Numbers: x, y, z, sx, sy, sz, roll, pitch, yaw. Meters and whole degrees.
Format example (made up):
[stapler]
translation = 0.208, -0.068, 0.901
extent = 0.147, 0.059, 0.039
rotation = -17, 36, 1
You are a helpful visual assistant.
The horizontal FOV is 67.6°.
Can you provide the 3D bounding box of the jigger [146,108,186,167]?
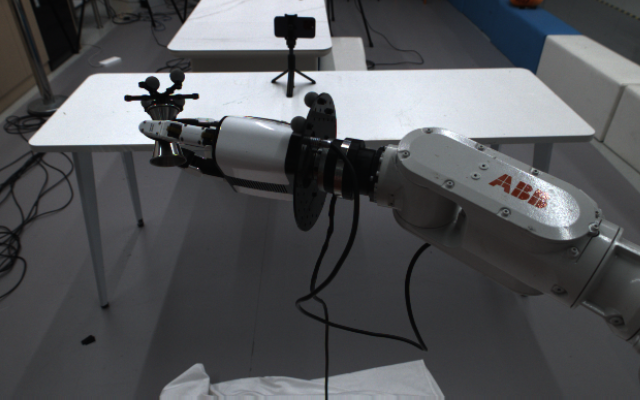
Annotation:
[jigger]
translation = -0.190, -0.079, 0.601
extent = 0.043, 0.043, 0.071
rotation = -7, 79, -13
